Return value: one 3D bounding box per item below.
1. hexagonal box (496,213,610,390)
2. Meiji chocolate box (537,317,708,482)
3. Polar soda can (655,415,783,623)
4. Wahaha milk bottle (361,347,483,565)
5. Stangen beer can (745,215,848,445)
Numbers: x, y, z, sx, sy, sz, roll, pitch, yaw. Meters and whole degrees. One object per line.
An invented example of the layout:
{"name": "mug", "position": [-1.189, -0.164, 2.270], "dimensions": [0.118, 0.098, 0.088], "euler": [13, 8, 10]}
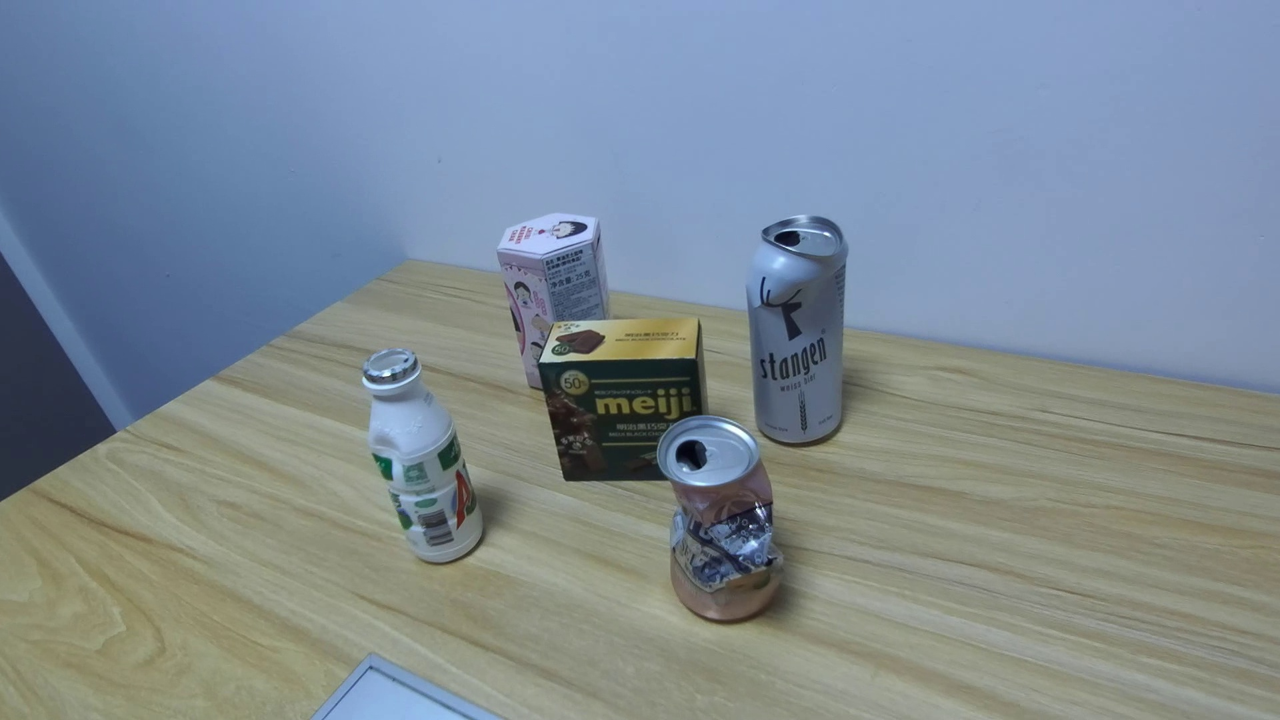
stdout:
{"name": "hexagonal box", "position": [-0.068, -0.047, 0.610], "dimensions": [0.084, 0.136, 0.091], "euler": [-5, 32, 4]}
{"name": "Meiji chocolate box", "position": [-0.007, 0.030, 0.507], "dimensions": [0.110, 0.109, 0.056], "euler": [-1, 34, 9]}
{"name": "Polar soda can", "position": [0.046, 0.091, 0.400], "dimensions": [0.074, 0.114, 0.070], "euler": [3, 41, 22]}
{"name": "Wahaha milk bottle", "position": [-0.139, 0.067, 0.453], "dimensions": [0.053, 0.137, 0.053], "euler": [-5, 33, 3]}
{"name": "Stangen beer can", "position": [0.113, -0.017, 0.505], "dimensions": [0.065, 0.162, 0.077], "euler": [1, 34, 14]}
